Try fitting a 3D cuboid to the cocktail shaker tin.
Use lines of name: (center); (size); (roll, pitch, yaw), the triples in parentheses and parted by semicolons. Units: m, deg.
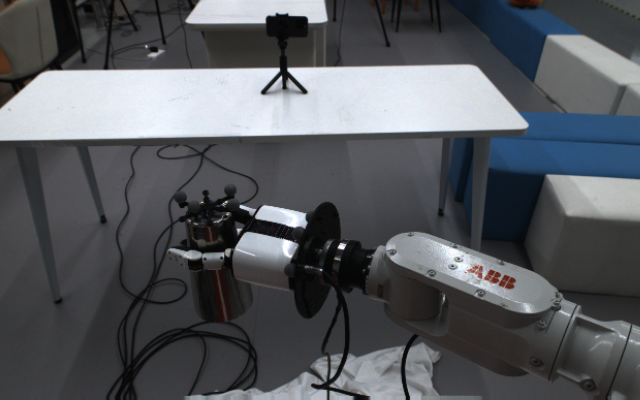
cocktail shaker tin: (-0.151, 0.087, 0.721); (0.093, 0.170, 0.093); (-1, 32, 1)
